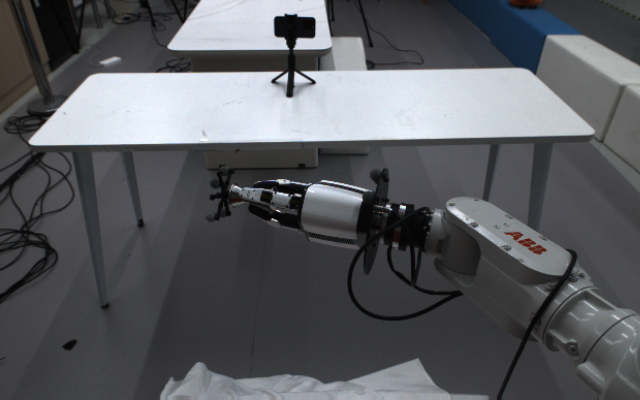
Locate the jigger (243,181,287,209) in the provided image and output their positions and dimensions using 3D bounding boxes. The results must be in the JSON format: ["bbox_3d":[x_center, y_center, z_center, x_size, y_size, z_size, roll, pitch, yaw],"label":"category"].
[{"bbox_3d":[-0.098,-0.006,0.757,0.071,0.043,0.043,7,35,13],"label":"jigger"}]
